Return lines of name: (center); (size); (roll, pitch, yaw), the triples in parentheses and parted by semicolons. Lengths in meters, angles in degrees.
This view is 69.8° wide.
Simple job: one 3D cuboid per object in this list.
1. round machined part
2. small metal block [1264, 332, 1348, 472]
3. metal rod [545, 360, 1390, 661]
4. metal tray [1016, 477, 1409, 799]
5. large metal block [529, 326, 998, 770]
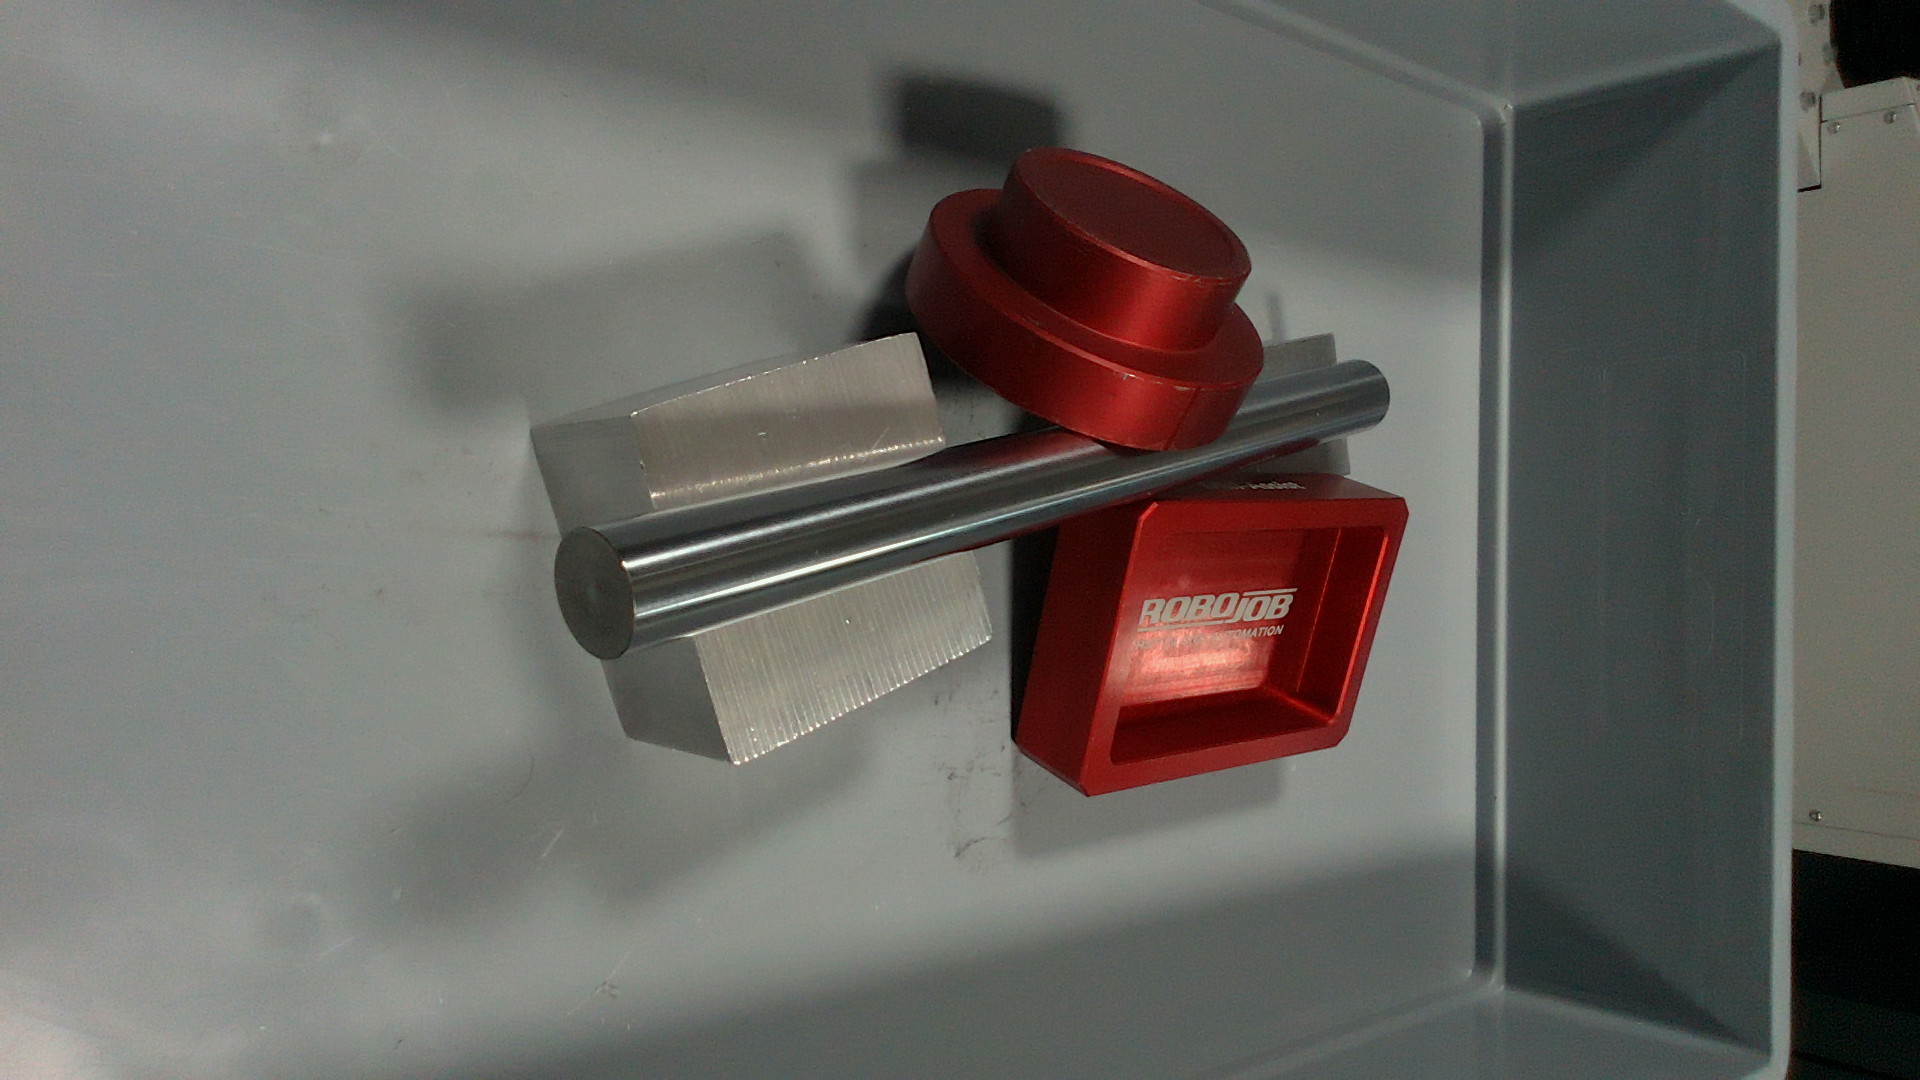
round machined part: (0.038, -0.070, 0.369); (0.098, 0.098, 0.042); (-6, 134, -40)
small metal block: (0.106, -0.043, 0.476); (0.050, 0.025, 0.050); (-15, 99, -39)
metal rod: (0.033, -0.019, 0.357); (0.301, 0.025, 0.025); (-16, 100, -46)
metal tray: (0.083, 0.026, 0.435); (0.131, 0.030, 0.090); (-2, 111, -40)
large metal block: (-0.045, -0.001, 0.332); (0.080, 0.050, 0.080); (-23, 104, -37)
